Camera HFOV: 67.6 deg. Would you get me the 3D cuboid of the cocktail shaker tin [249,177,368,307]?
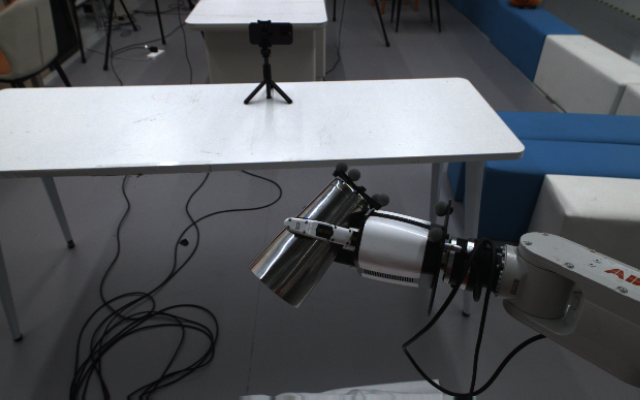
[{"bbox_3d":[-0.008,0.051,0.673,0.170,0.093,0.093,-48,49,-4],"label":"cocktail shaker tin"}]
